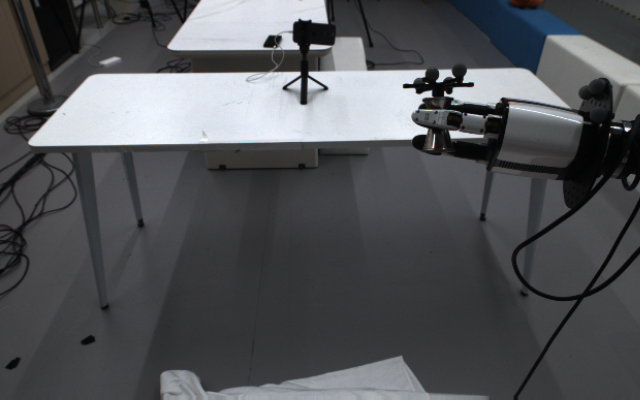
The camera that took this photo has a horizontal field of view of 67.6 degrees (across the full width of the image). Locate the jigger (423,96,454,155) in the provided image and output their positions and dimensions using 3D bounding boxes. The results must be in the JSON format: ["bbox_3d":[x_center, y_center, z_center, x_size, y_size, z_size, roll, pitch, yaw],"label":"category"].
[{"bbox_3d":[0.153,-0.098,0.631,0.043,0.071,0.043,-1,2,0],"label":"jigger"}]
